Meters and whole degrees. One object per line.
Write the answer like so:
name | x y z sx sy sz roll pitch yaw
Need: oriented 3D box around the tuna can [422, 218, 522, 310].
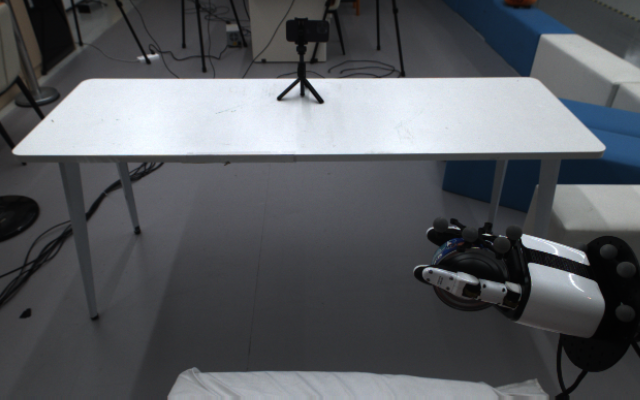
tuna can | 0.175 0.084 0.565 0.085 0.085 0.034 7 21 7
